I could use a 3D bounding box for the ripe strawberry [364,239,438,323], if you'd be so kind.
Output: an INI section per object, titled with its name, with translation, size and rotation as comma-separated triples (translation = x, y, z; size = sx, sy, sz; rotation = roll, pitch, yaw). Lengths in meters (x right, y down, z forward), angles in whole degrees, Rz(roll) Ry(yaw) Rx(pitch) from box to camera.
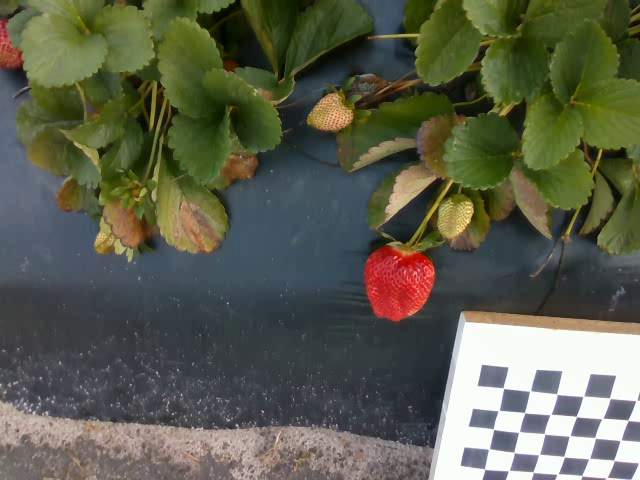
[ripe strawberry]
translation = 0.067, 0.039, 0.523
size = 0.067, 0.075, 0.039
rotation = 10, 22, 2
